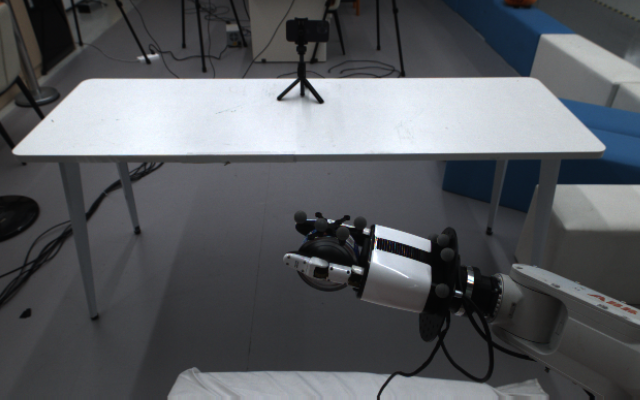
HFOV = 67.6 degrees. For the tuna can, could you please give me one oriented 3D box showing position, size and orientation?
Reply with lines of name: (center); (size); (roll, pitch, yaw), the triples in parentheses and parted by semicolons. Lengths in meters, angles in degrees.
tuna can: (0.013, 0.080, 0.662); (0.085, 0.085, 0.034); (6, 22, 6)
